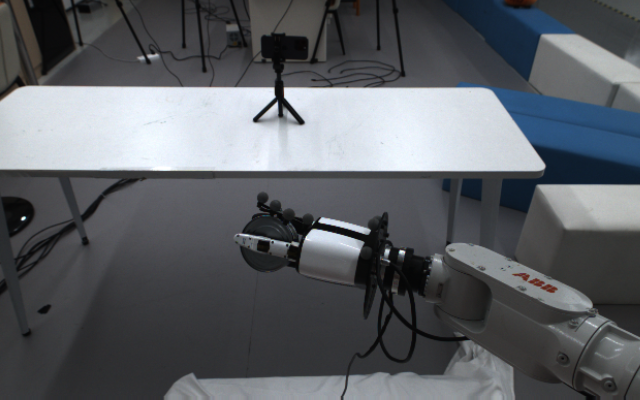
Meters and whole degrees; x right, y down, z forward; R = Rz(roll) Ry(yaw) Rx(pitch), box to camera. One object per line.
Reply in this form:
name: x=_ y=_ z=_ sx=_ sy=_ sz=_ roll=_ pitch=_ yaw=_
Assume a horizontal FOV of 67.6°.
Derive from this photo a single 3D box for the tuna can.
tuna can: x=-0.075 y=0.064 z=0.736 sx=0.085 sy=0.085 sz=0.034 roll=13 pitch=3 yaw=16
